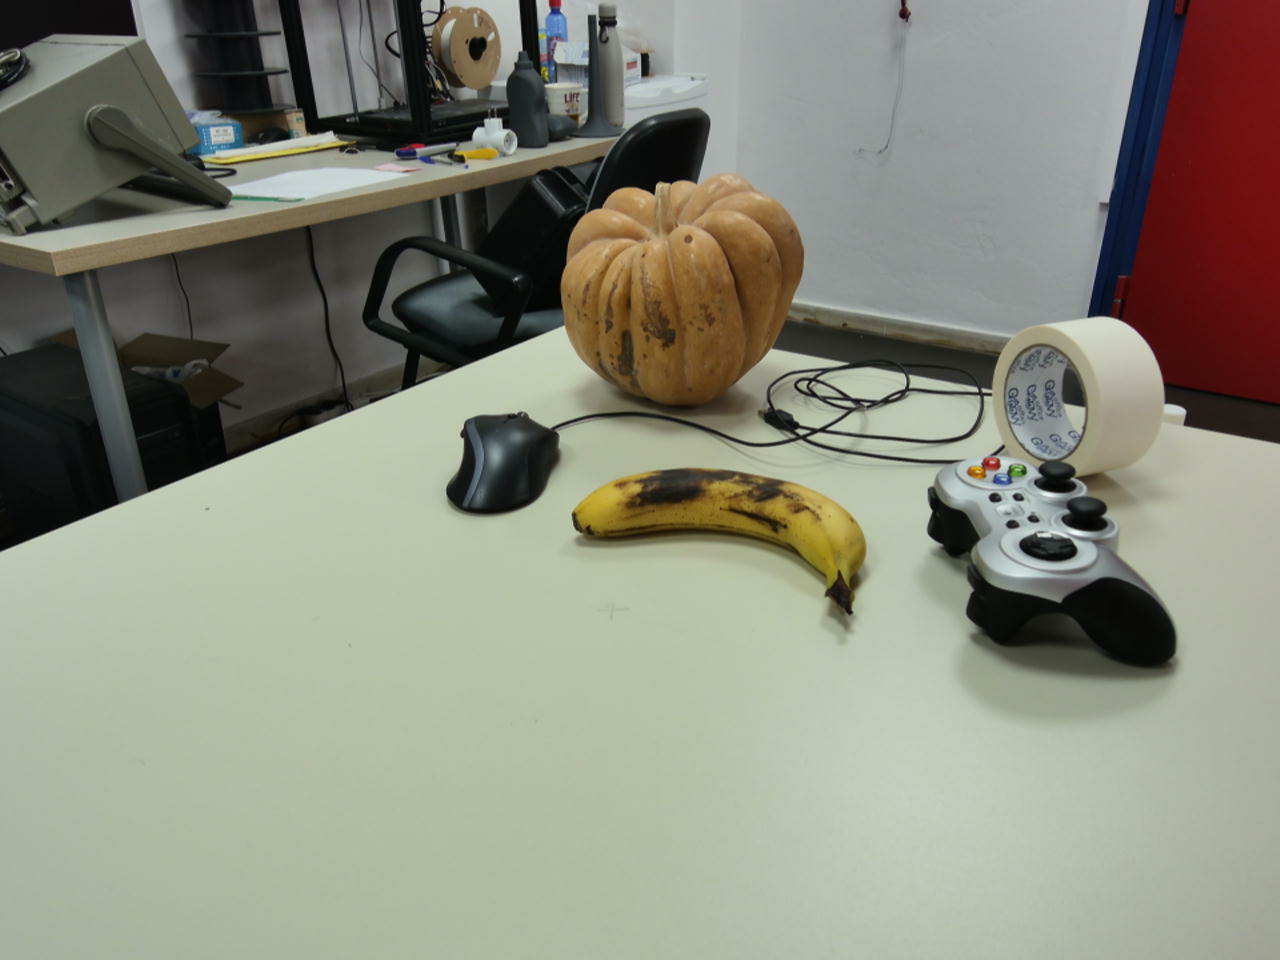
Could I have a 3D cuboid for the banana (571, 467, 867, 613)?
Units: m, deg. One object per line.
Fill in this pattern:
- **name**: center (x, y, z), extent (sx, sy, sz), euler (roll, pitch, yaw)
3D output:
- **banana**: center (0.056, 0.025, 0.605), extent (0.187, 0.039, 0.094), euler (16, 29, 31)
